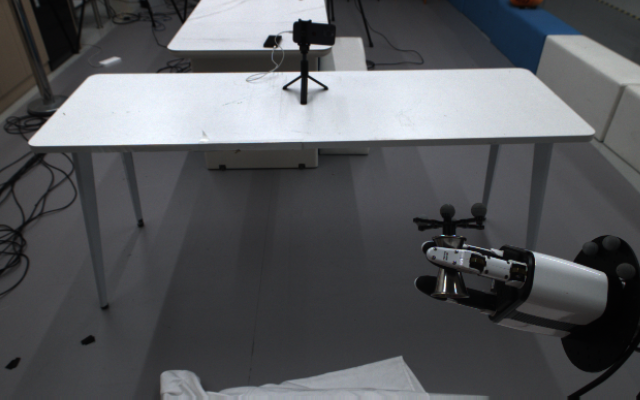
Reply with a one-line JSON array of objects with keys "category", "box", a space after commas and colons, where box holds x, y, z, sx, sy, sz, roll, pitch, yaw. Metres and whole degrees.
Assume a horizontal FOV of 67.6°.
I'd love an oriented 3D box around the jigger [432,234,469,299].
[{"category": "jigger", "box": [0.151, 0.077, 0.568, 0.043, 0.043, 0.071, 3, 75, 1]}]
